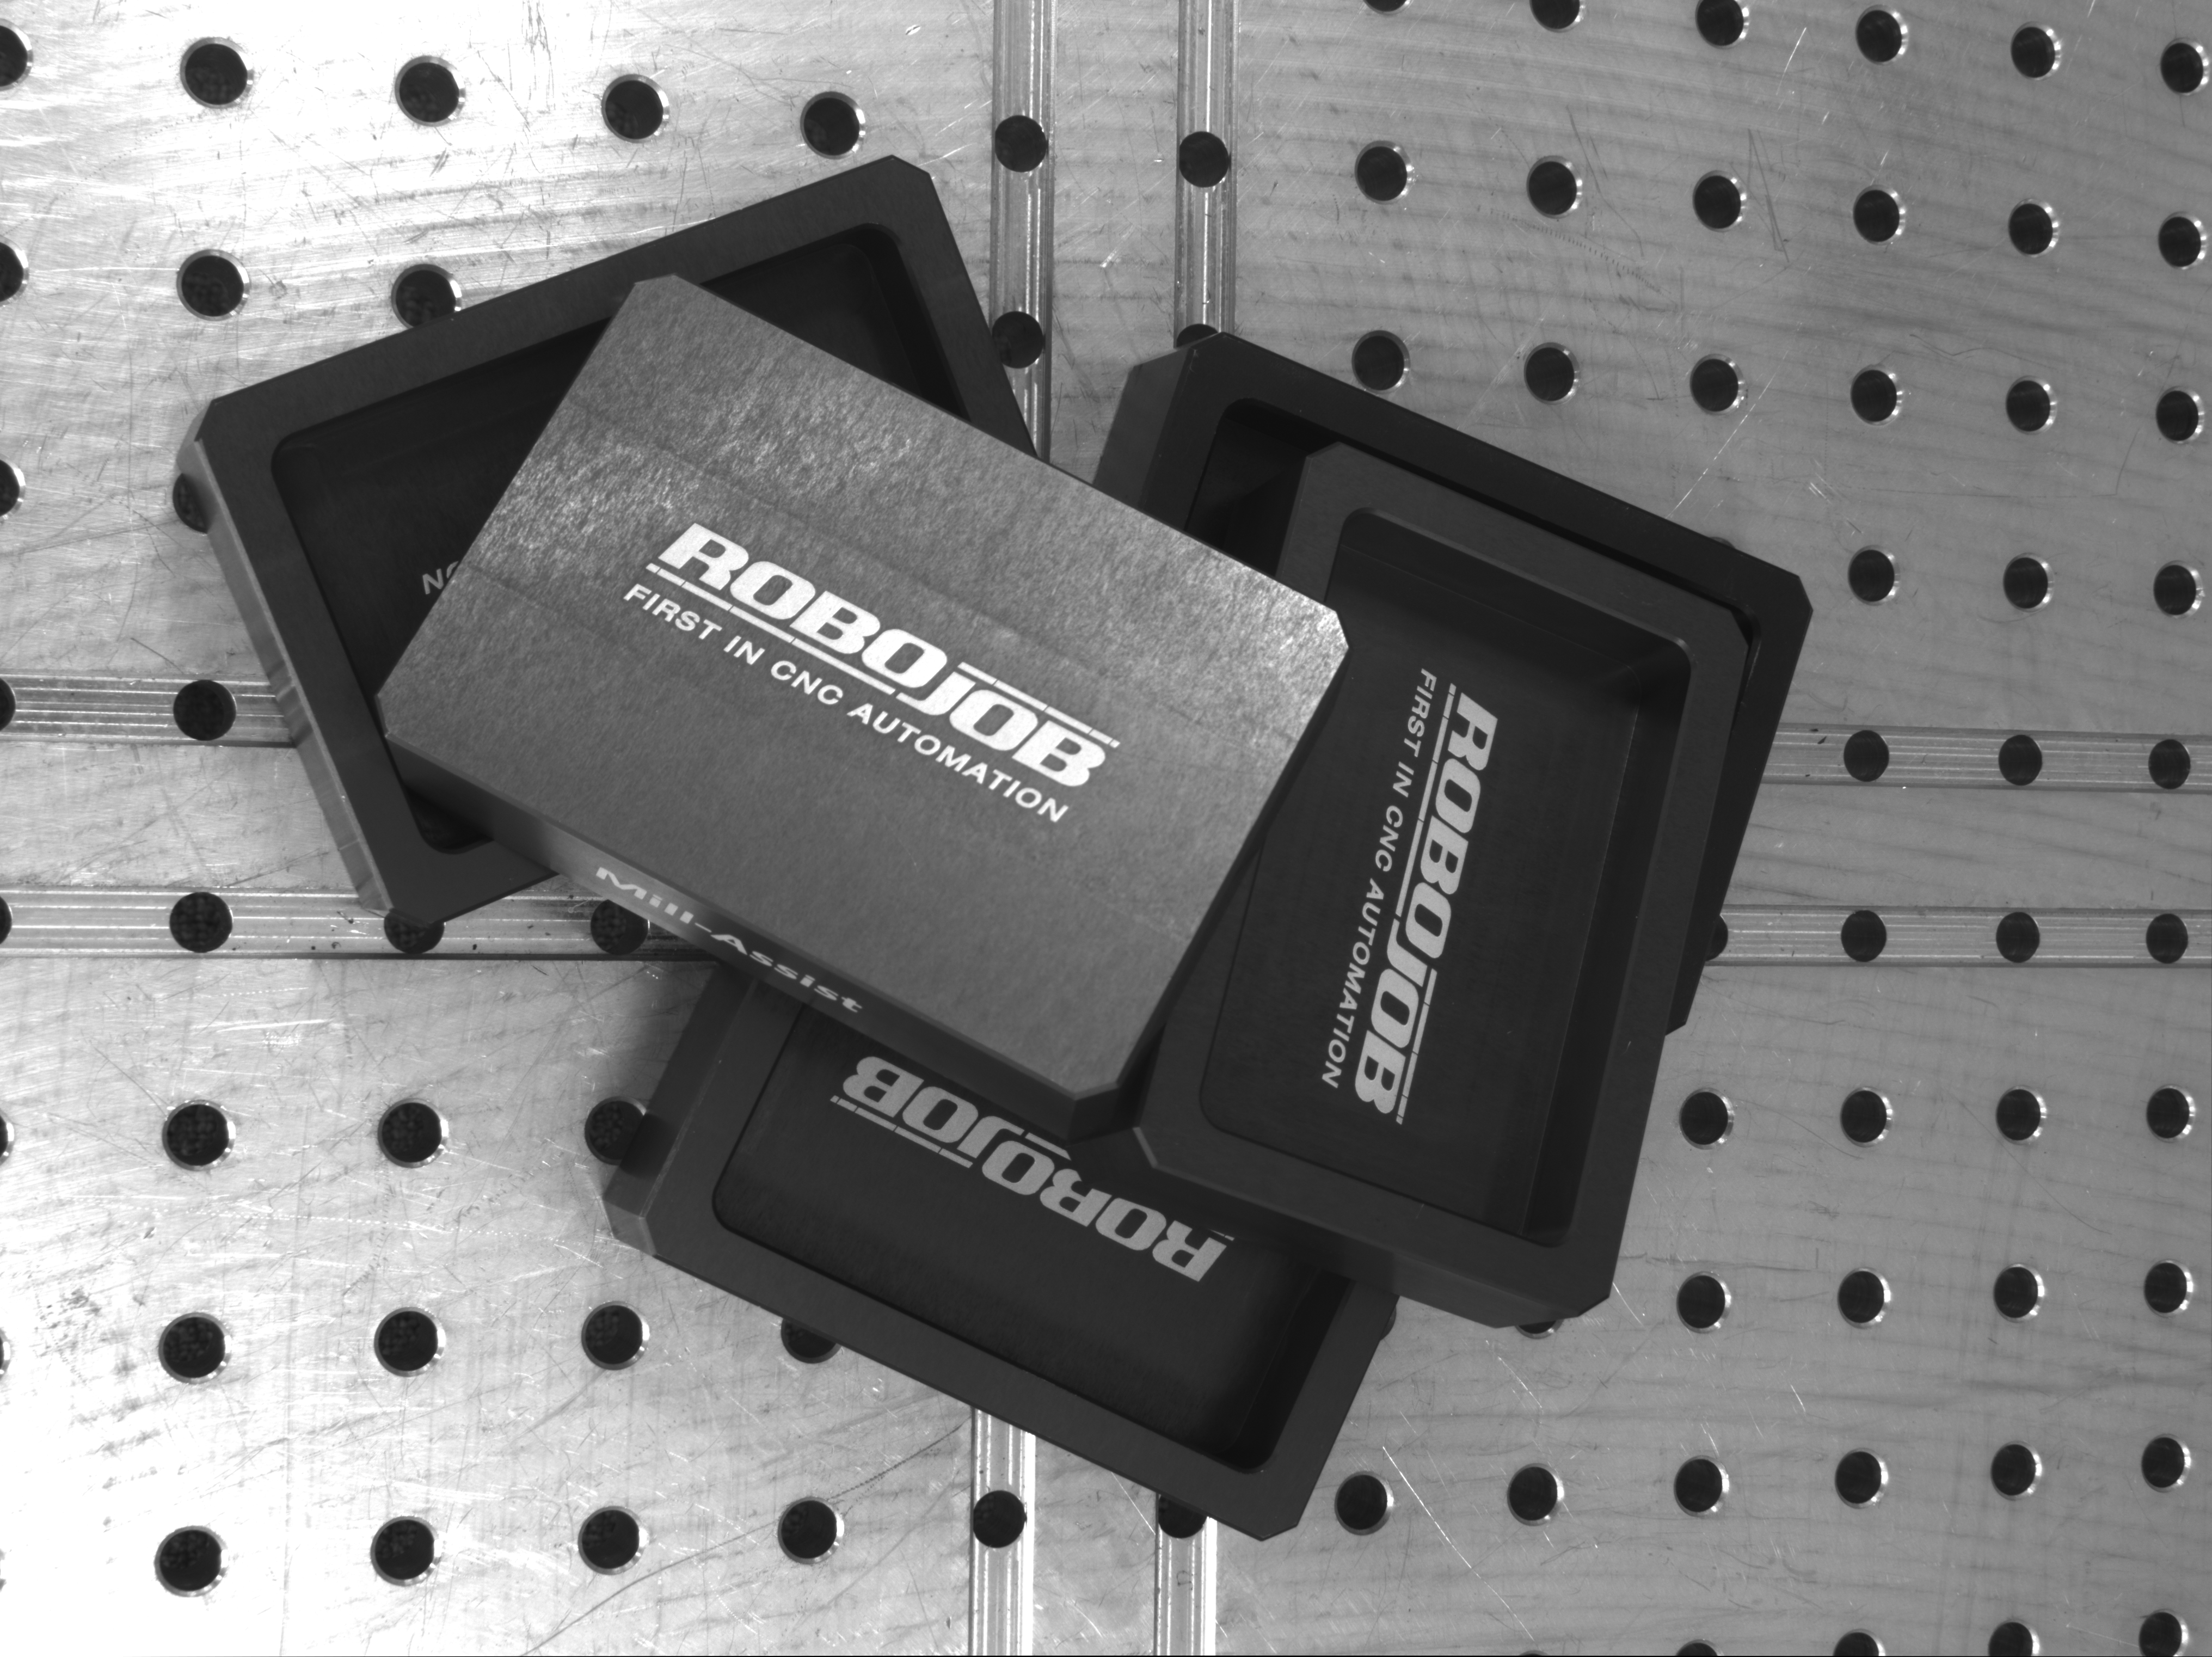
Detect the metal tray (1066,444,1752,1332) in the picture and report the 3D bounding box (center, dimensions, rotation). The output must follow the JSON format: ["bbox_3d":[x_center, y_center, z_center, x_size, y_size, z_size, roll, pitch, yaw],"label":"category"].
[{"bbox_3d":[0.054,0.011,0.630,0.090,0.030,0.130,21,71,-18],"label":"metal tray"}]

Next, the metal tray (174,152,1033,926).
[{"bbox_3d":[-0.077,-0.049,0.615,0.130,0.030,0.090,-24,97,-18],"label":"metal tray"}]

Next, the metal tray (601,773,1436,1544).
[{"bbox_3d":[-0.010,0.057,0.640,0.130,0.030,0.090,28,81,-18],"label":"metal tray"}]

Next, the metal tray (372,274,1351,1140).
[{"bbox_3d":[-0.038,-0.020,0.586,0.130,0.030,0.090,27,73,5],"label":"metal tray"}]

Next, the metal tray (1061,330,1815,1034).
[{"bbox_3d":[0.055,-0.024,0.662,0.130,0.030,0.090,20,83,-18],"label":"metal tray"}]
